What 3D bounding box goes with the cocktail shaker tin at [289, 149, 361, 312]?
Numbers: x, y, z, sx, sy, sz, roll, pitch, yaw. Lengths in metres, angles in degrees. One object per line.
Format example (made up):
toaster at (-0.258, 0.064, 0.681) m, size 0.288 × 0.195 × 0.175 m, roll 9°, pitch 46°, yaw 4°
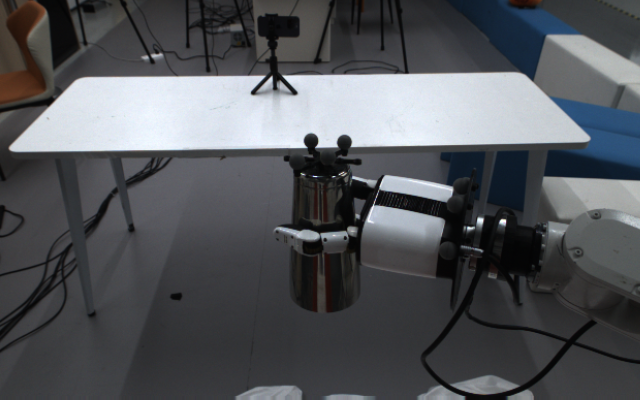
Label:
cocktail shaker tin at (0.008, 0.039, 0.586) m, size 0.093 × 0.170 × 0.093 m, roll -1°, pitch 26°, yaw 1°
